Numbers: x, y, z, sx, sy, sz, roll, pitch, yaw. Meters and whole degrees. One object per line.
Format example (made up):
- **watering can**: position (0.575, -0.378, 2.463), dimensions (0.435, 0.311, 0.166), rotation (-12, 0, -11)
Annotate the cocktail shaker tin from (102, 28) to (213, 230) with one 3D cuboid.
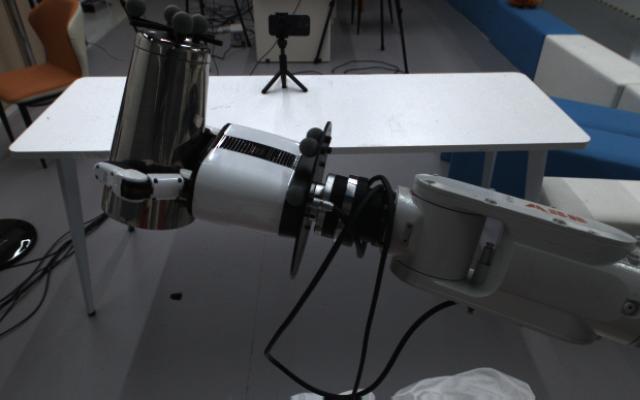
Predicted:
- **cocktail shaker tin**: position (-0.151, -0.066, 0.467), dimensions (0.093, 0.170, 0.093), rotation (14, 20, -5)
